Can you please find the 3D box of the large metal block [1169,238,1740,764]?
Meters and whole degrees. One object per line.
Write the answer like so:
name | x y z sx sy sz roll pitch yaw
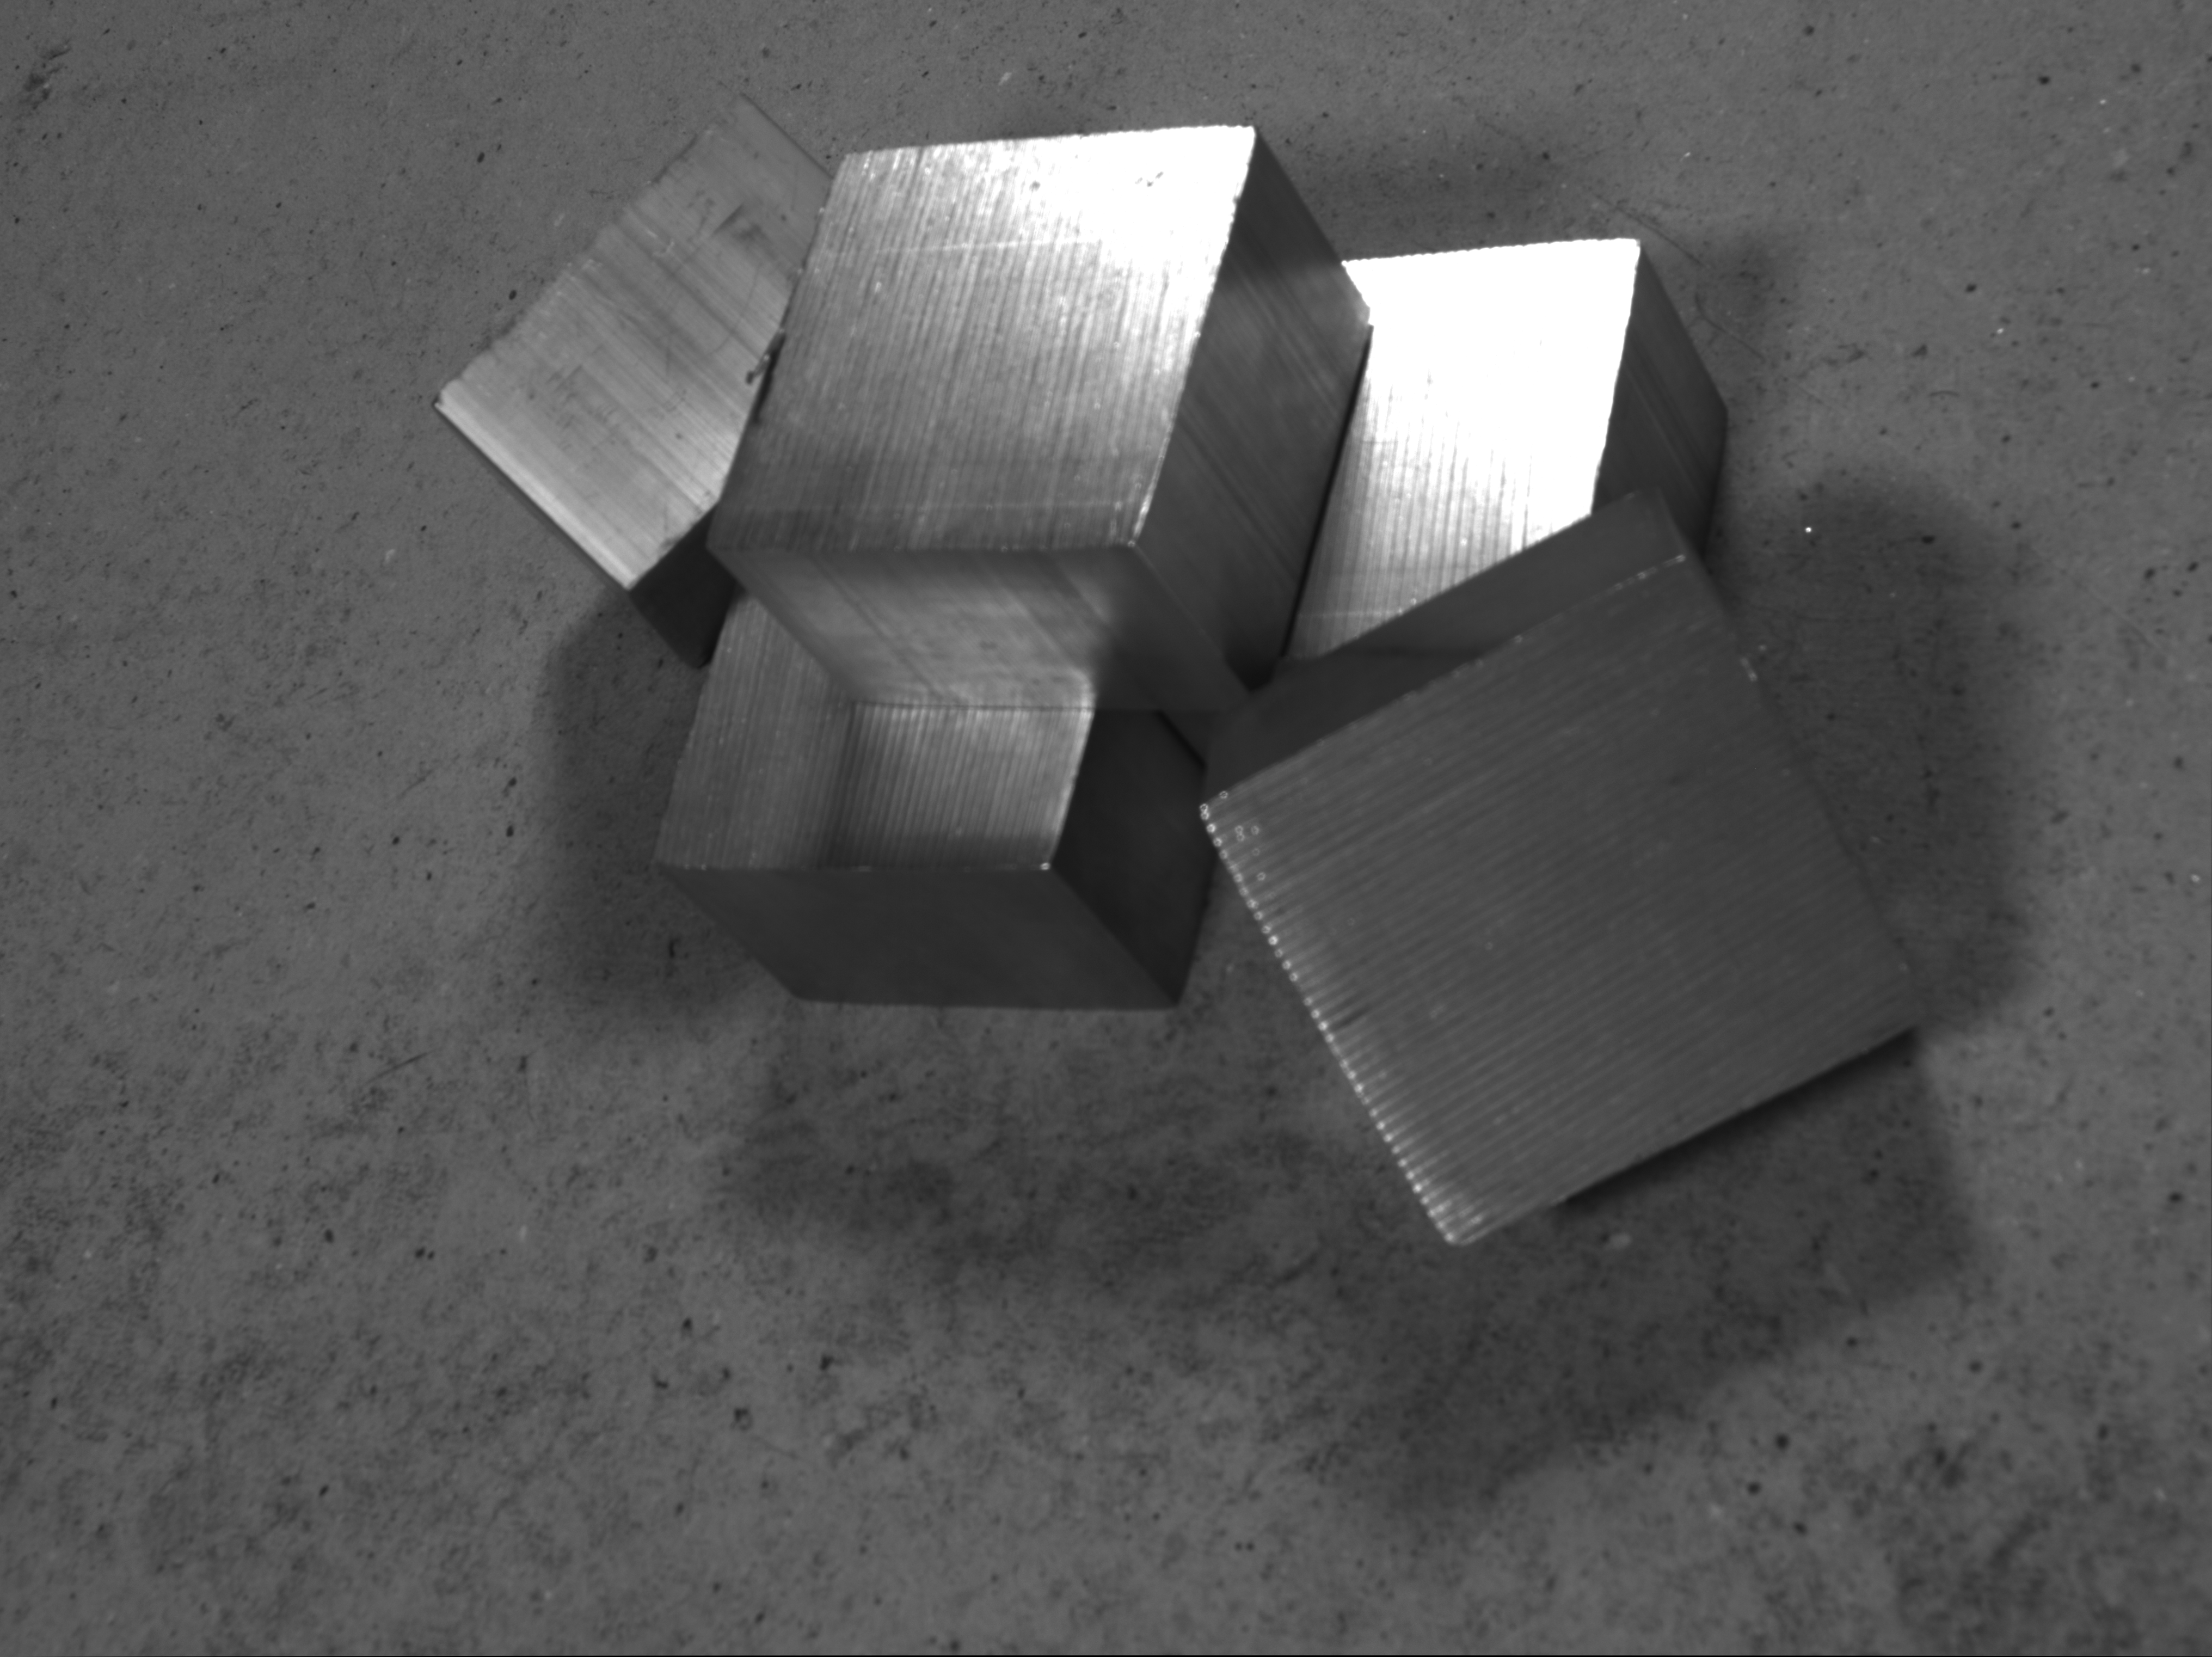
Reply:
large metal block | 0.057 -0.051 0.630 0.080 0.050 0.080 0 62 28

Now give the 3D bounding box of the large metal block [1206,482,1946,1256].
large metal block | 0.070 0.005 0.559 0.080 0.080 0.050 -28 14 11

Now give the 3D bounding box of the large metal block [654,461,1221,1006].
large metal block | -0.023 -0.016 0.648 0.080 0.050 0.080 0 62 28

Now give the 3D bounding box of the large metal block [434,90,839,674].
large metal block | -0.072 -0.081 0.689 0.050 0.080 0.080 44 86 6

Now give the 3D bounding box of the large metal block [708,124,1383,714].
large metal block | -0.009 -0.066 0.606 0.080 0.050 0.080 2 62 29
